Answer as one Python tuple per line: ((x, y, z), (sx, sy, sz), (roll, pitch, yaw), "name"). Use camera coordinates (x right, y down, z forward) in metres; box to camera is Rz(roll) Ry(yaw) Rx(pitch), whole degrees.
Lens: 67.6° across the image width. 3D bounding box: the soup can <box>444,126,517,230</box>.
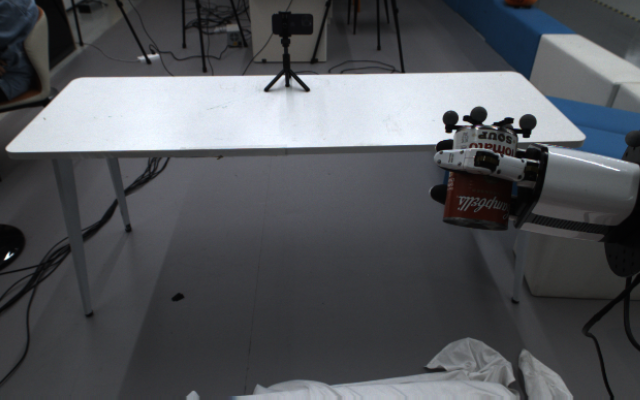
((0.175, -0.022, 0.522), (0.067, 0.101, 0.067), (9, -6, 1), "soup can")
